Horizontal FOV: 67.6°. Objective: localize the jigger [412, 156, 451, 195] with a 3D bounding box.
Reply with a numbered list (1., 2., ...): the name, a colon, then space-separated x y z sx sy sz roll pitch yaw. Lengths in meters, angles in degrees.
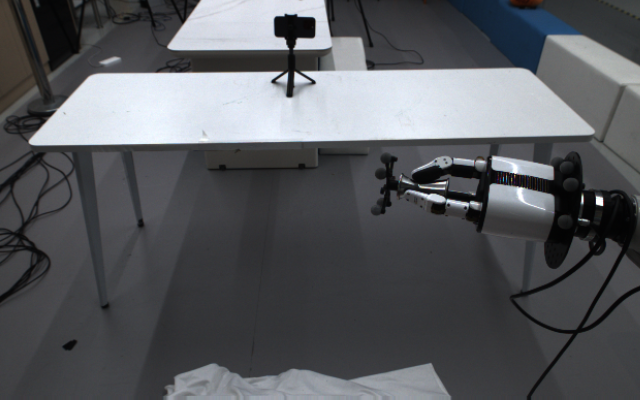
1. jigger: 0.154 -0.018 0.695 0.071 0.043 0.043 9 35 17
